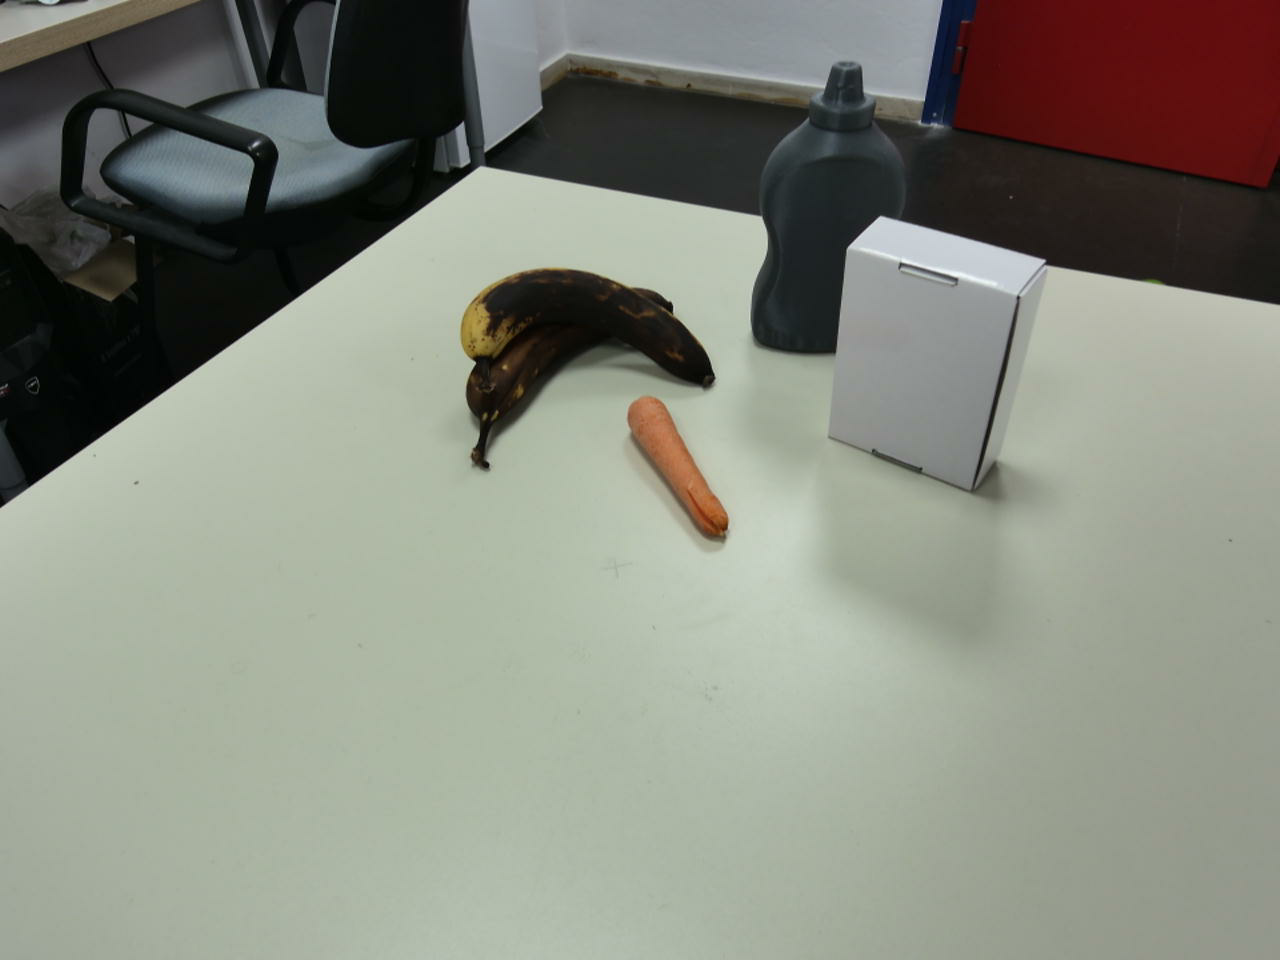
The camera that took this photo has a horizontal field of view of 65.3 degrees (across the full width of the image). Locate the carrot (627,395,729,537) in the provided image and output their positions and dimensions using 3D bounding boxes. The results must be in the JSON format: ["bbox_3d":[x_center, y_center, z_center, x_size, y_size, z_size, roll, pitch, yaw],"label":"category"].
[{"bbox_3d":[0.023,-0.012,0.649,0.030,0.032,0.136,-13,40,-16],"label":"carrot"}]
